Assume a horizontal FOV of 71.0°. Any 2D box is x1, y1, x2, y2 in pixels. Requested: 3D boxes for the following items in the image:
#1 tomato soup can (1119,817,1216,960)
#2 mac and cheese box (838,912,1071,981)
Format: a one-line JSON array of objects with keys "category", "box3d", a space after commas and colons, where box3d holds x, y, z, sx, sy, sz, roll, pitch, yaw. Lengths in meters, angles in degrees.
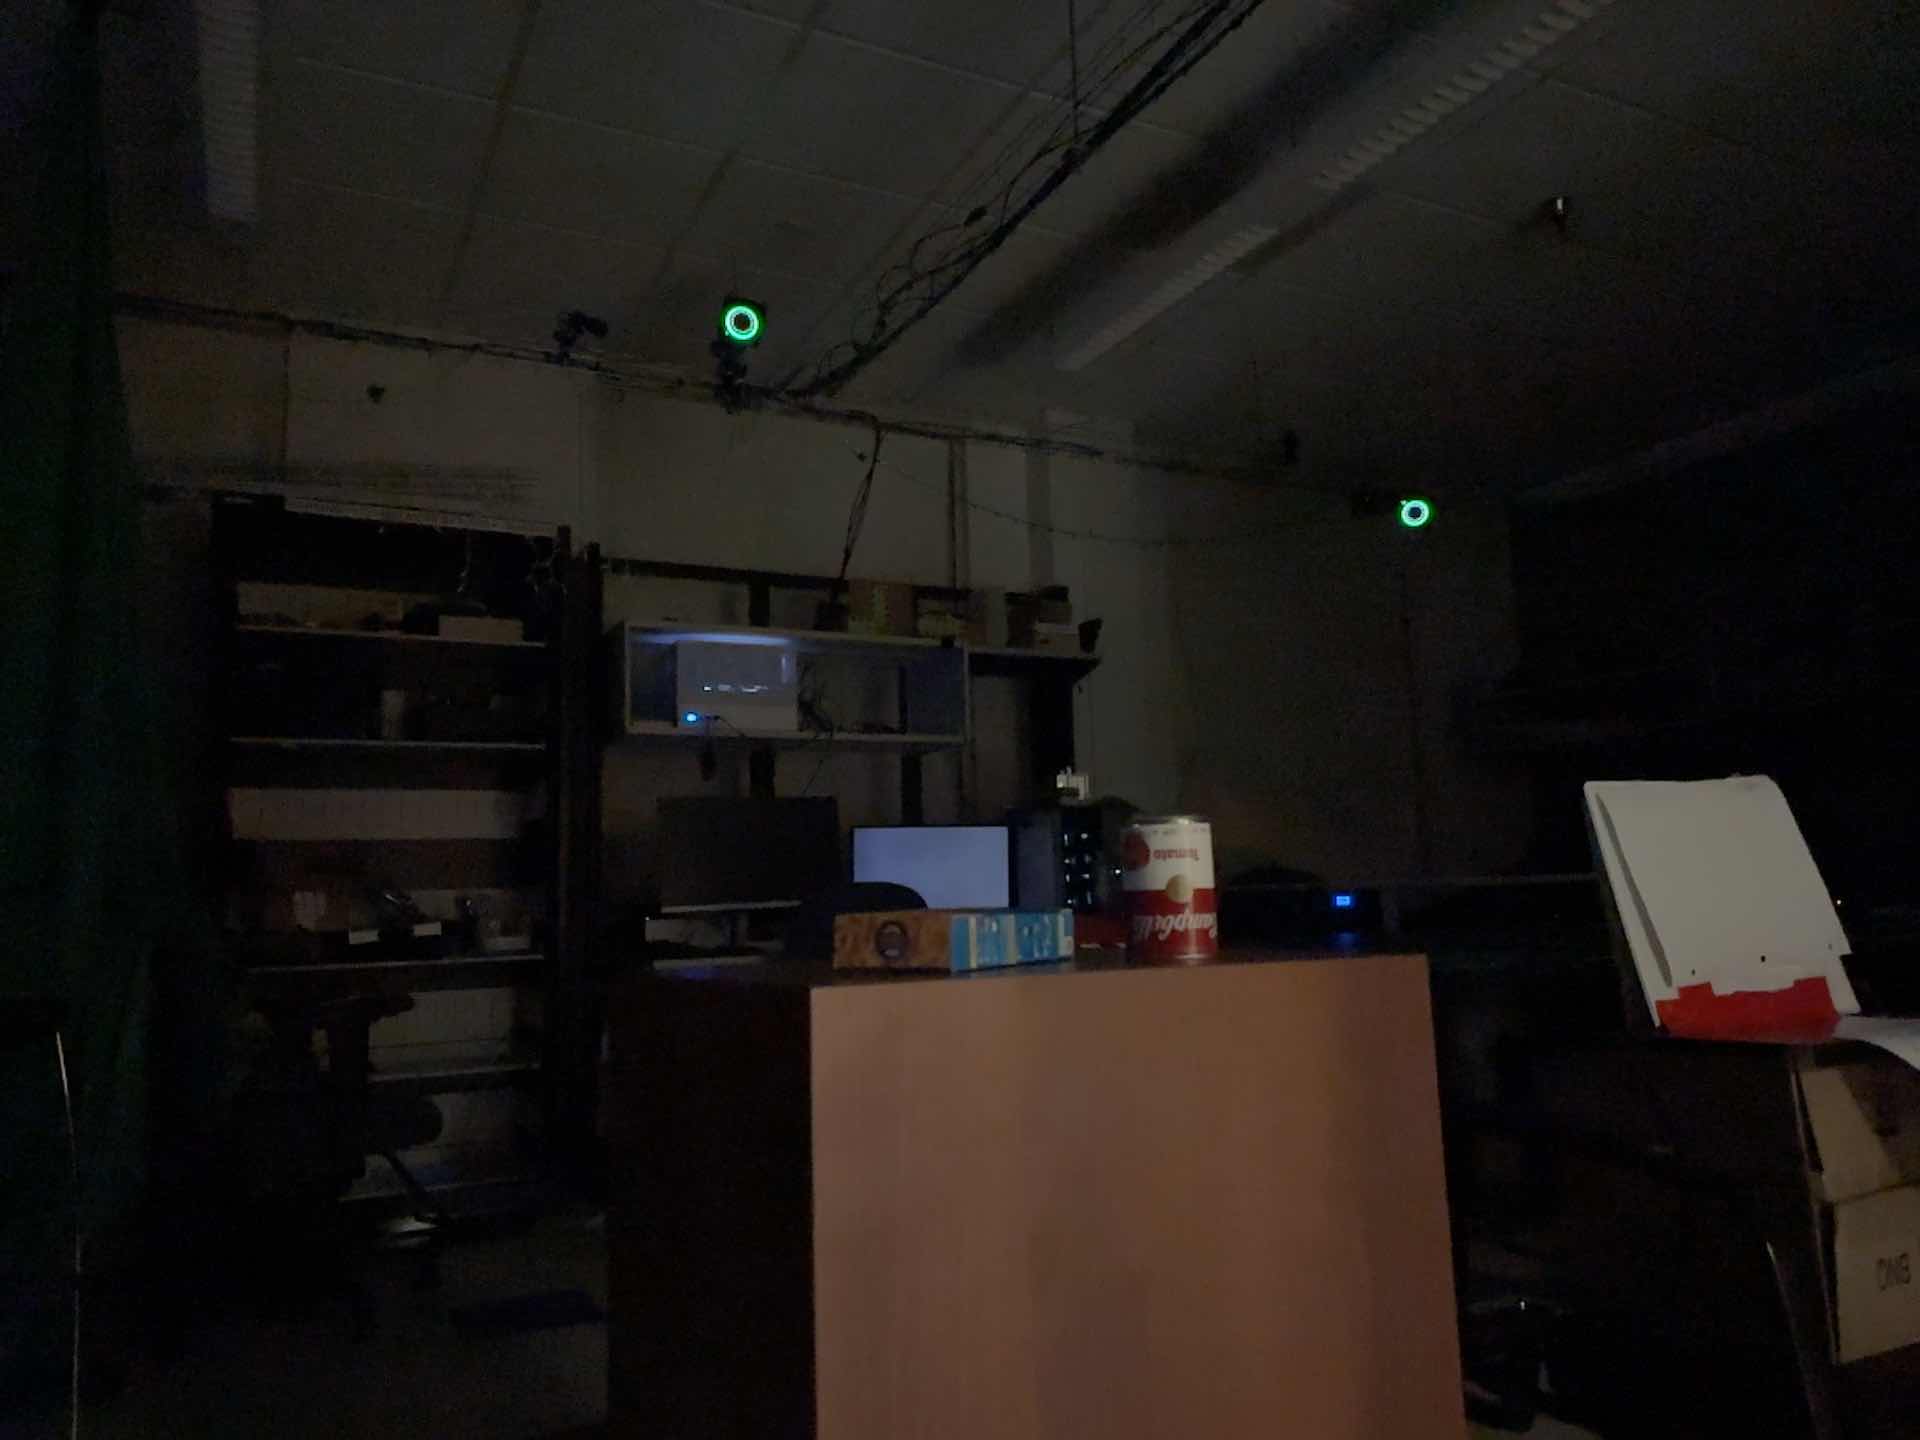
[{"category": "tomato soup can", "box3d": [0.152, 0.122, 0.992, 0.067, 0.102, 0.067, -1, -5, 0]}, {"category": "mac and cheese box", "box3d": [0.001, 0.157, 0.944, 0.088, 0.035, 0.181, -3, -7, 27]}]
